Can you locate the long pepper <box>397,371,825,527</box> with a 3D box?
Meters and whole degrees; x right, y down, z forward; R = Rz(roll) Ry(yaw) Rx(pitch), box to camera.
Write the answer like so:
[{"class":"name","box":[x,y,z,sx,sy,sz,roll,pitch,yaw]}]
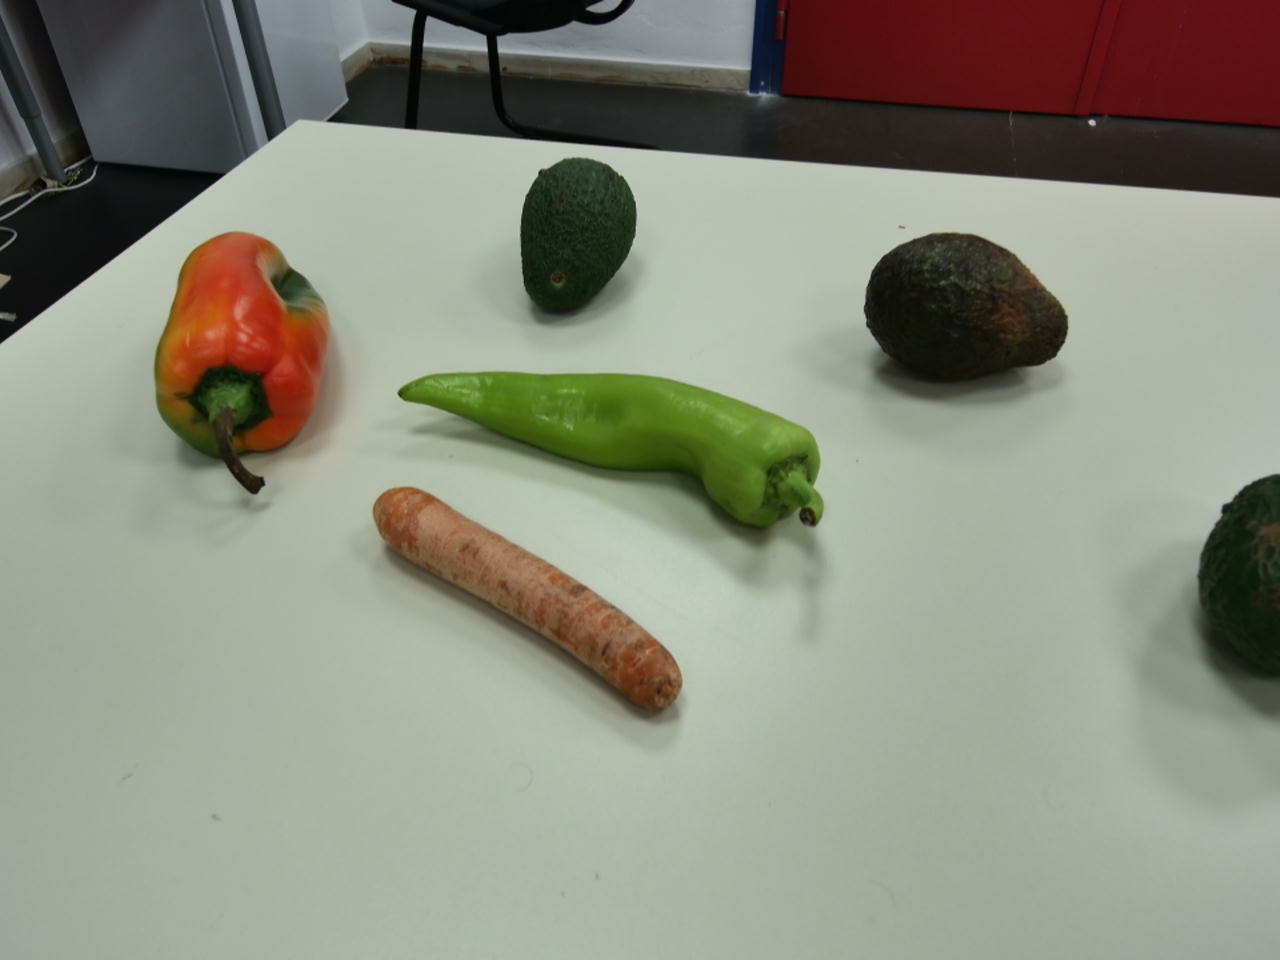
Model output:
[{"class":"long pepper","box":[-0.007,-0.024,0.441,0.205,0.045,0.065,19,42,23]}]
